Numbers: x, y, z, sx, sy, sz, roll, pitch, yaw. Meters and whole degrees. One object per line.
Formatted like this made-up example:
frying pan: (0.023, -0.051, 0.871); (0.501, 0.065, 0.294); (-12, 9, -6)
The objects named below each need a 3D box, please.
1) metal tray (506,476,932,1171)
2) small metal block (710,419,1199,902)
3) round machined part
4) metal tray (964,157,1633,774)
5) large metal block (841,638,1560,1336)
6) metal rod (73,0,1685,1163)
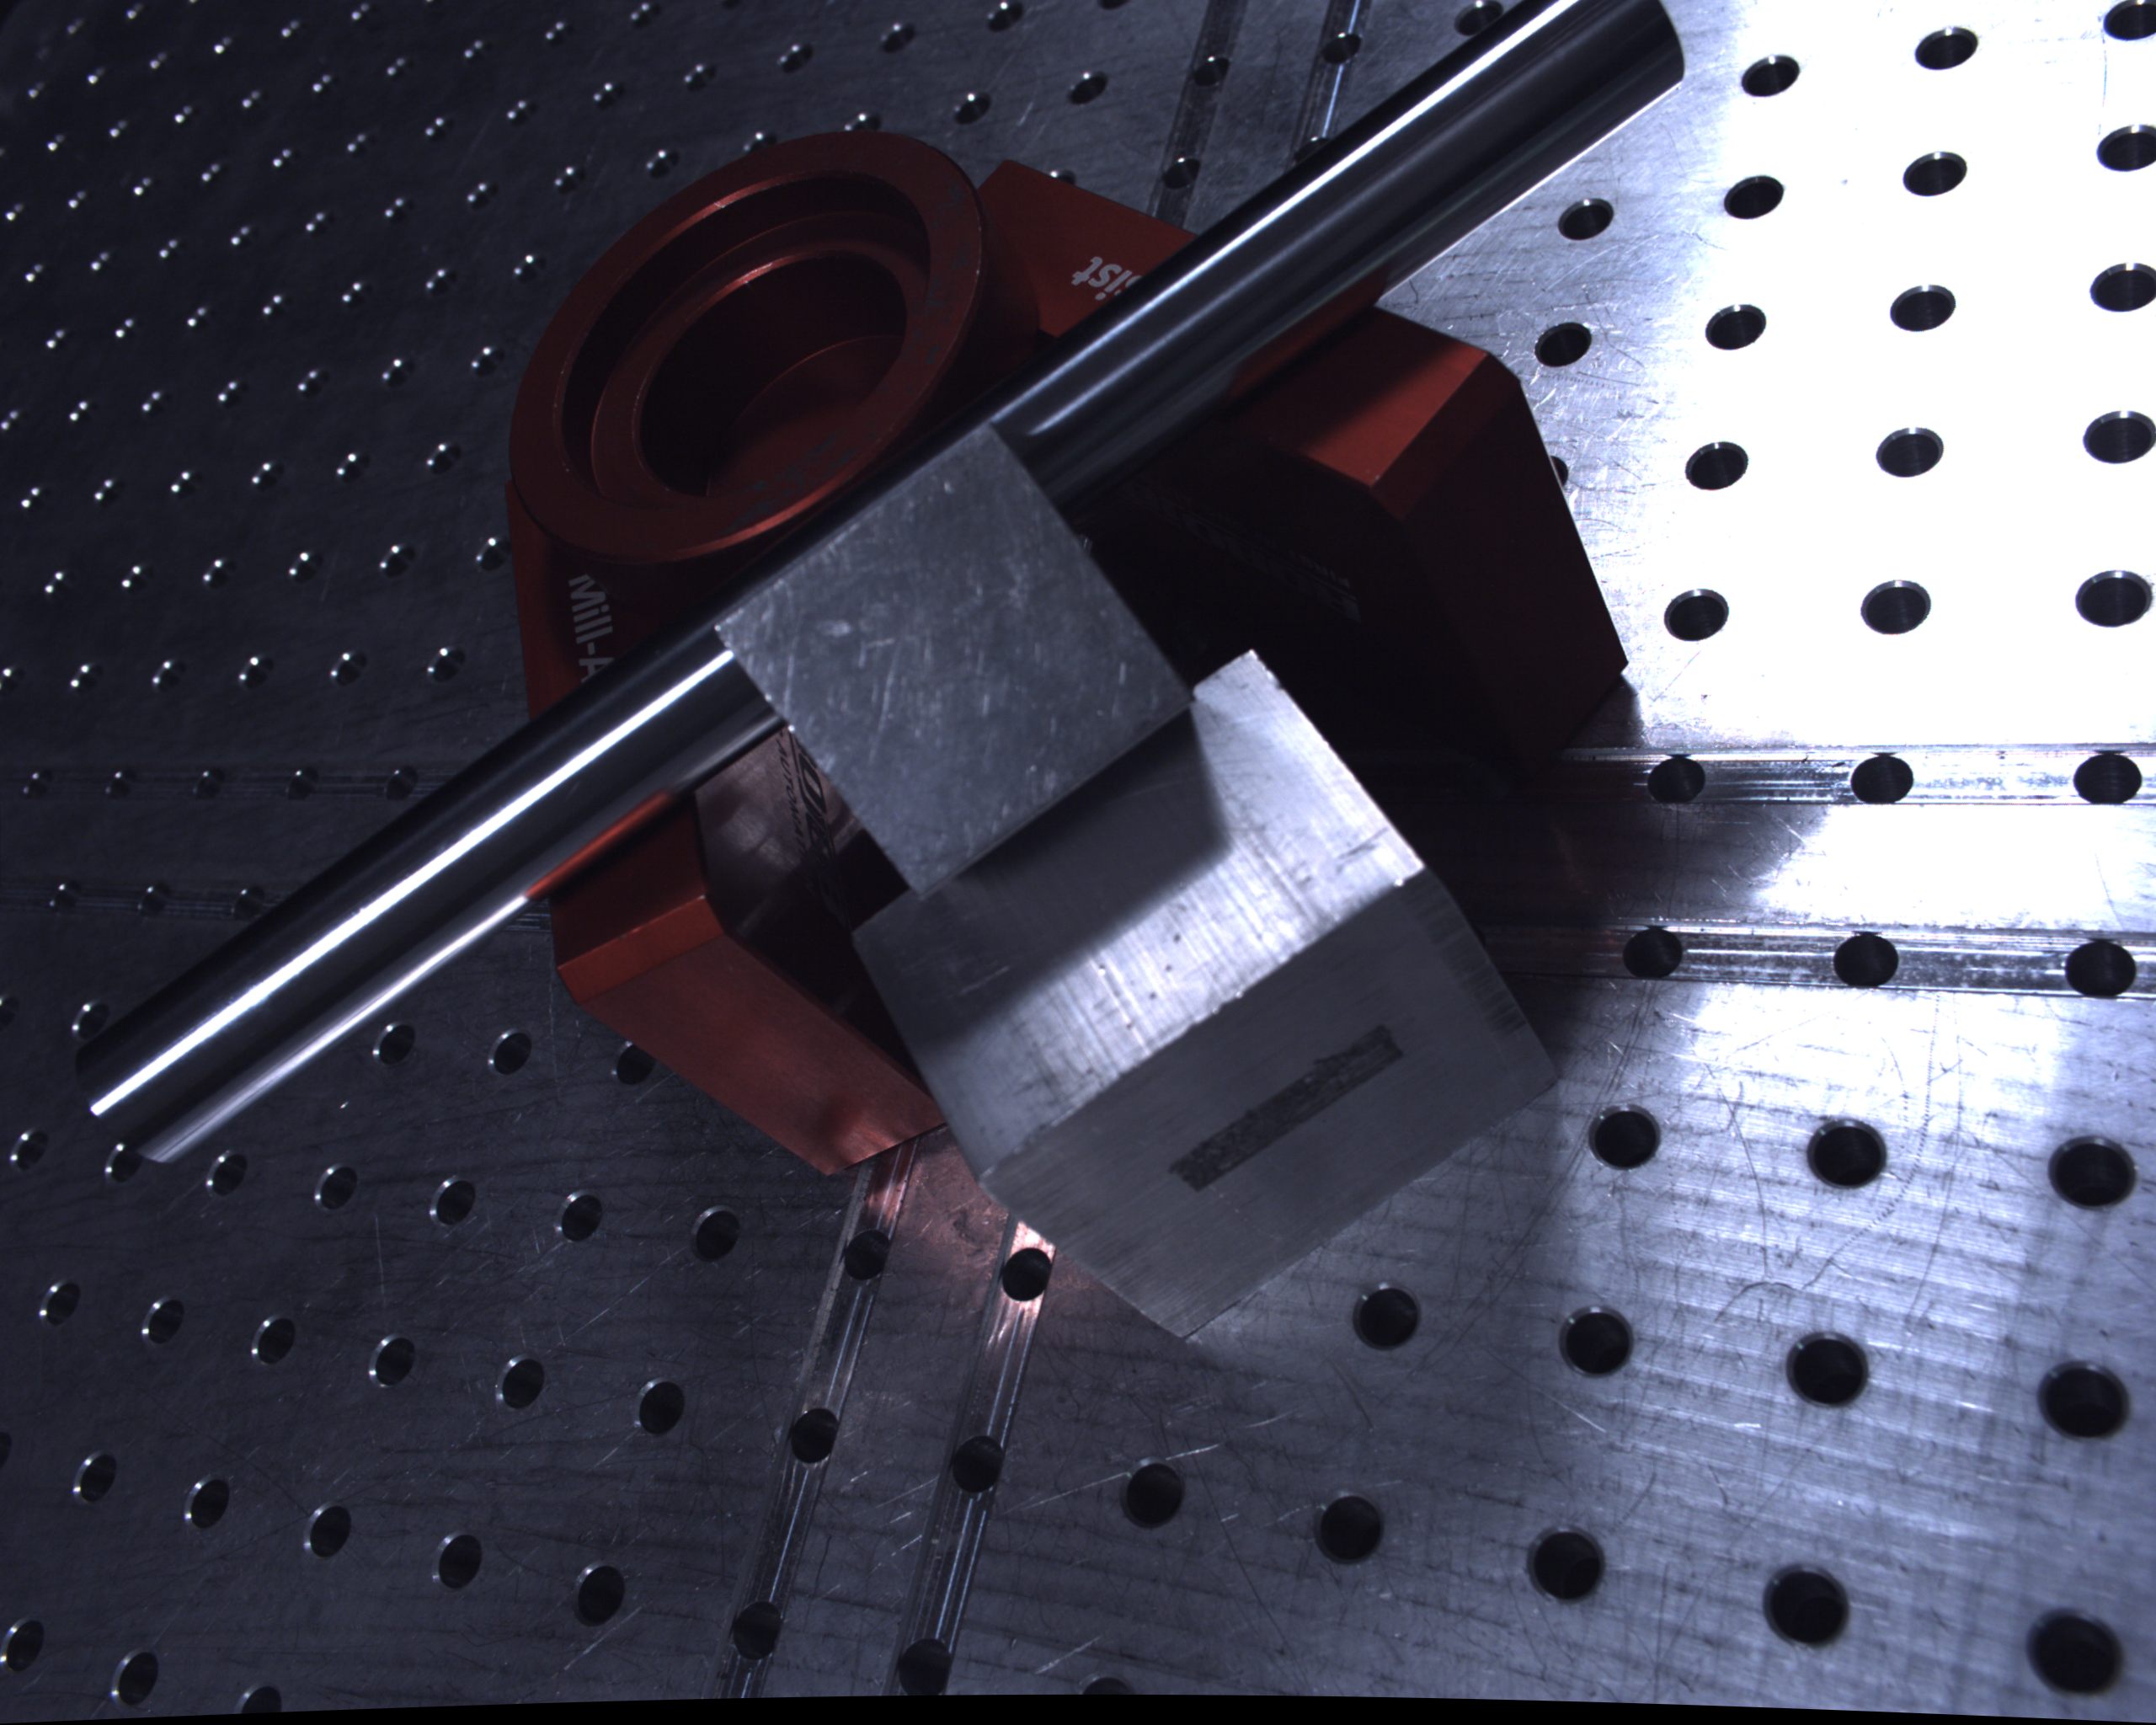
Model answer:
metal tray: (-0.068, -0.015, 0.409); (0.030, 0.090, 0.130); (-26, 53, 12)
small metal block: (-0.018, -0.030, 0.314); (0.050, 0.050, 0.025); (-37, 7, 3)
round machined part: (-0.051, -0.084, 0.386); (0.098, 0.042, 0.098); (-13, 56, 20)
metal tray: (0.035, -0.075, 0.392); (0.130, 0.090, 0.030); (36, 83, 38)
large metal block: (0.022, 0.024, 0.342); (0.080, 0.080, 0.050); (-36, 52, 4)
metal rod: (-0.035, -0.046, 0.338); (0.300, 0.025, 0.025); (-35, 52, 4)
